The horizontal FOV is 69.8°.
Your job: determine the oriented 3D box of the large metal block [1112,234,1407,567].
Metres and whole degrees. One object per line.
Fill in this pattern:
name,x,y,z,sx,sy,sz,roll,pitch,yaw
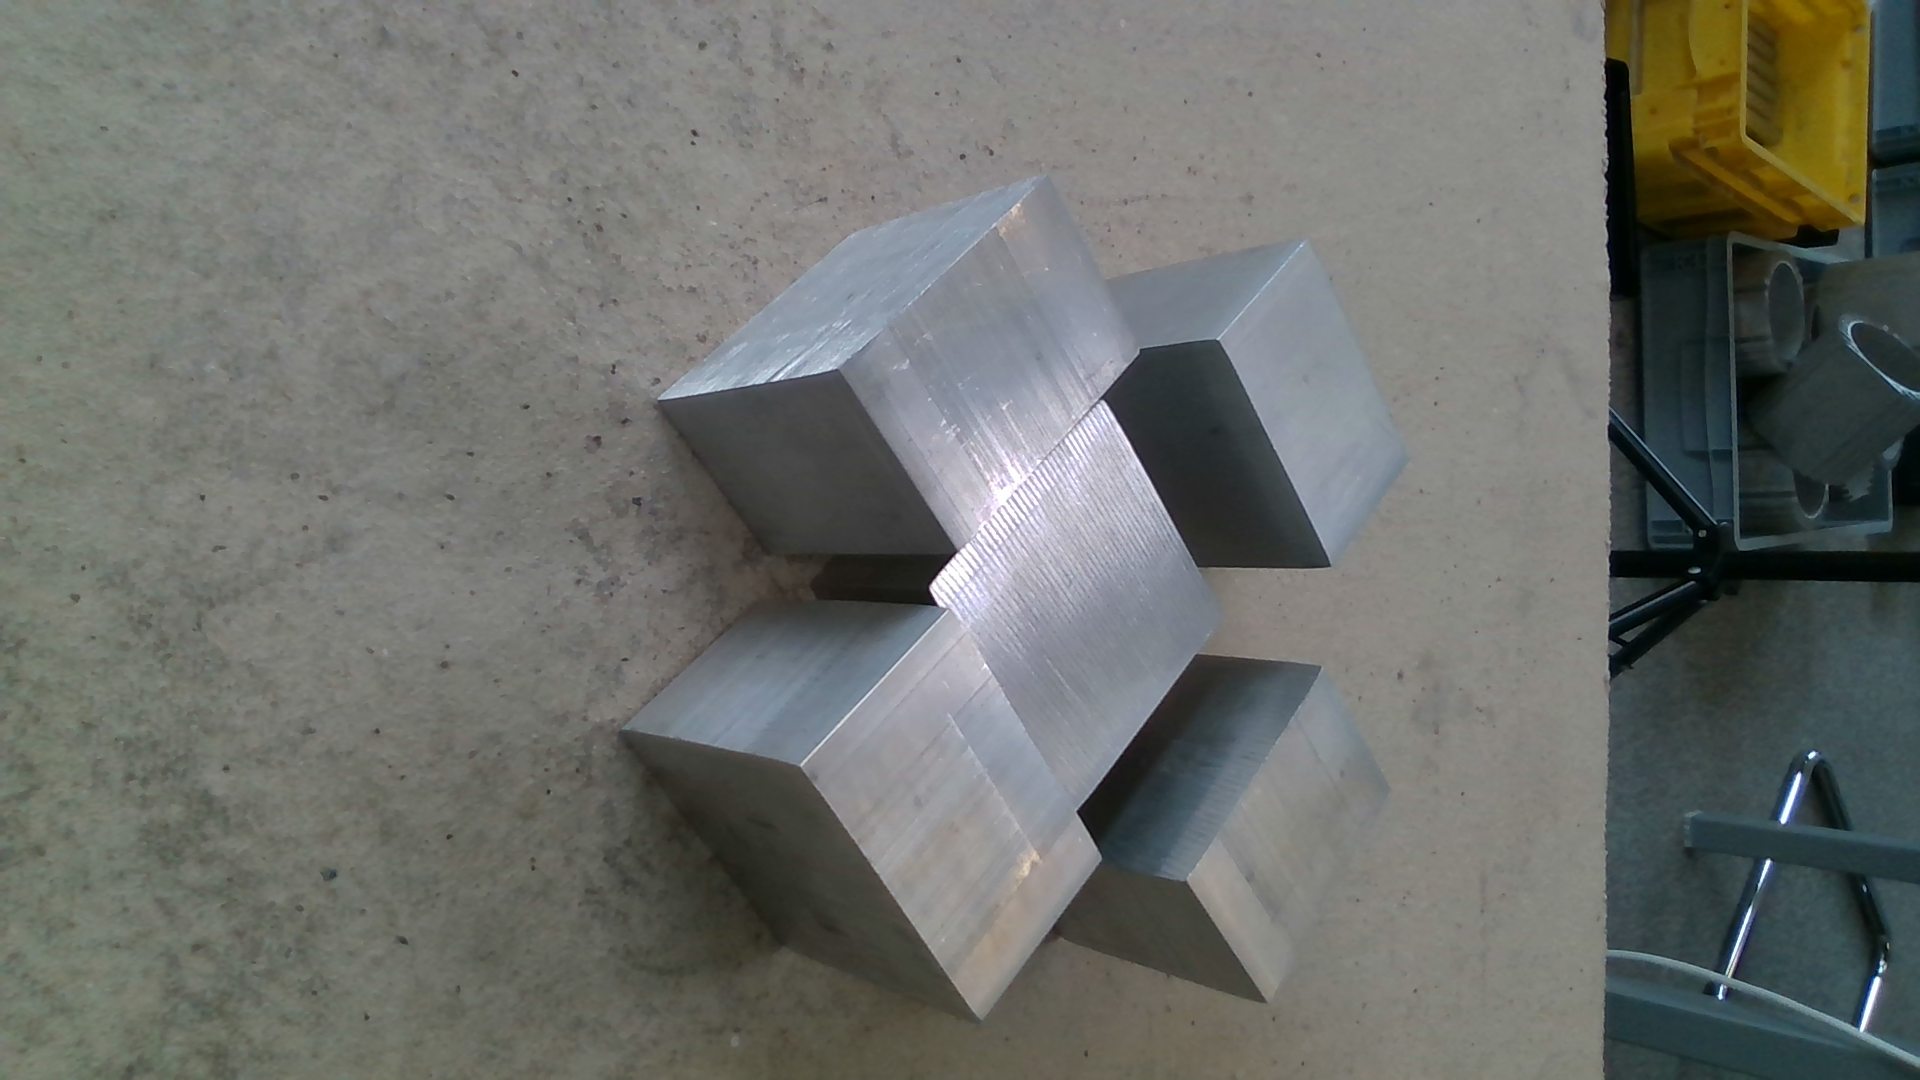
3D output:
large metal block,0.076,-0.039,0.420,0.050,0.080,0.080,-48,119,-30

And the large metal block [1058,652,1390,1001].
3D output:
large metal block,0.067,0.080,0.412,0.080,0.080,0.050,-49,120,-29

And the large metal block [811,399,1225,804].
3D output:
large metal block,0.019,0.016,0.388,0.080,0.050,0.080,-47,118,-30

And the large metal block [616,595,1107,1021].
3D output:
large metal block,-0.024,0.061,0.334,0.050,0.080,0.080,-46,118,-31

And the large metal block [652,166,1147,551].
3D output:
large metal block,-0.015,-0.042,0.342,0.080,0.080,0.050,-48,118,-30
